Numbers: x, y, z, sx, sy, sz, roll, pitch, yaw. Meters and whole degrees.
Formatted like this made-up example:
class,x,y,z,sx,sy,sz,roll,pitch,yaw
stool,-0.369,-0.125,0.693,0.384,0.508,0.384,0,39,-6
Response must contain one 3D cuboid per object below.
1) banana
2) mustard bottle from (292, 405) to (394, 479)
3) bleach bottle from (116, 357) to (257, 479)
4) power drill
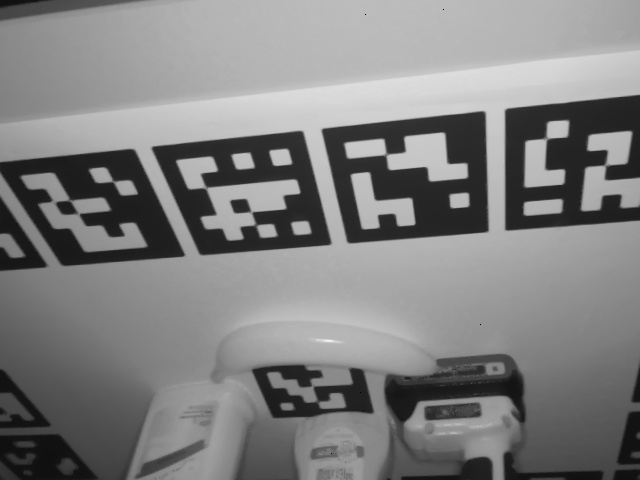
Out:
class,x,y,z,sx,sy,sz,roll,pitch,yaw
banana,-0.003,0.082,0.576,0.197,0.039,0.073,-1,126,5
mustard bottle,0.014,0.238,0.607,0.096,0.193,0.058,-1,130,9
bleach bottle,-0.124,0.214,0.572,0.102,0.253,0.067,-9,127,14
power drill,0.104,0.199,0.541,0.183,0.189,0.057,-3,136,12
